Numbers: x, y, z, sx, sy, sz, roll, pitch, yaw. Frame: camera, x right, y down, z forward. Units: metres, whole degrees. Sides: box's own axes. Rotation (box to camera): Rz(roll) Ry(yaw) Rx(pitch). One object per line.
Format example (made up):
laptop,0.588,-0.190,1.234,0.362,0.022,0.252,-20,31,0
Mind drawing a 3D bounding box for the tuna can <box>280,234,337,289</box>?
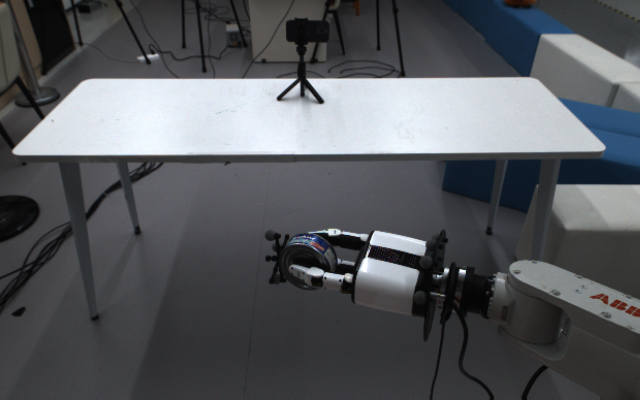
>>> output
tuna can,-0.016,0.091,0.741,0.085,0.085,0.034,12,28,14
